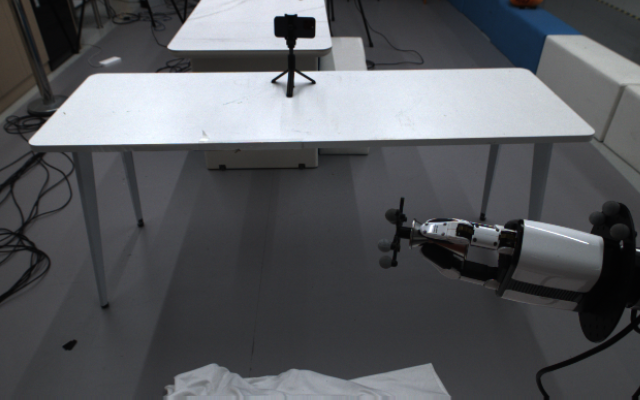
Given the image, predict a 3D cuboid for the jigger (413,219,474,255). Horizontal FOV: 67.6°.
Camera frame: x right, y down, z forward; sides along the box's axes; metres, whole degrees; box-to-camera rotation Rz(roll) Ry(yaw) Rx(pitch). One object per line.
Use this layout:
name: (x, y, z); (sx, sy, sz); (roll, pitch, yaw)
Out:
jigger: (0.154, 0.042, 0.594); (0.071, 0.043, 0.043); (7, 35, 15)
